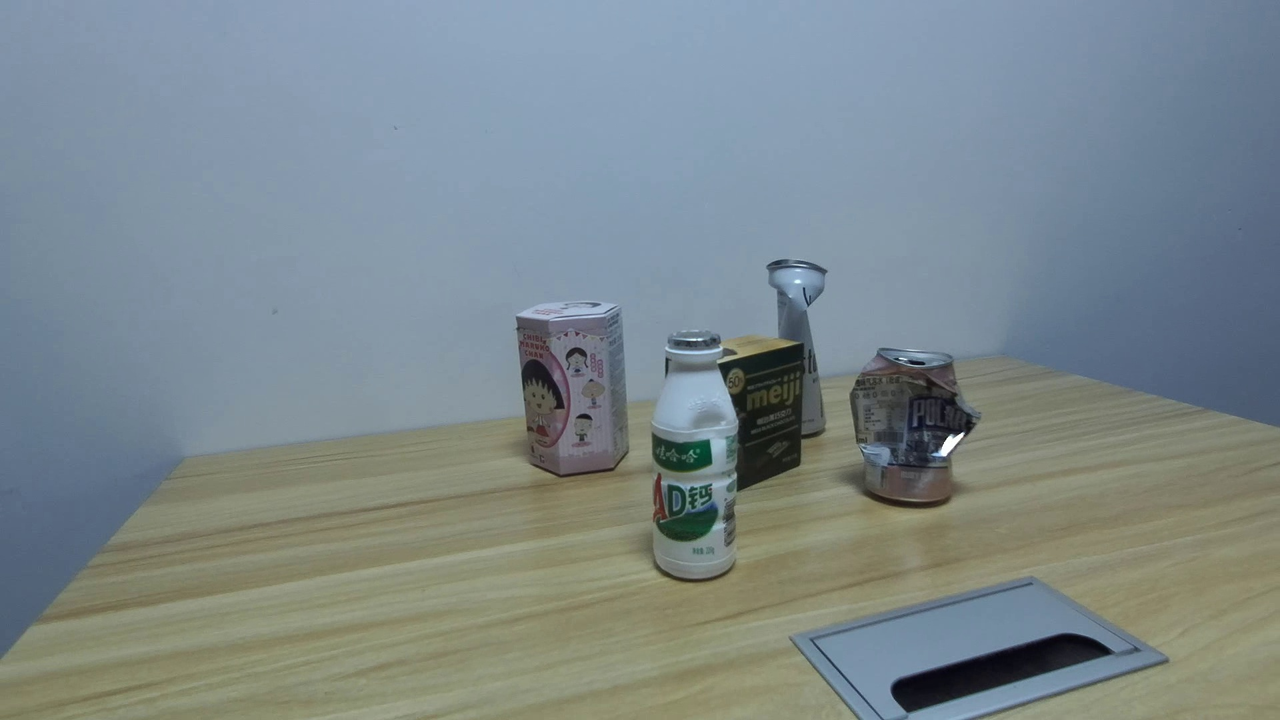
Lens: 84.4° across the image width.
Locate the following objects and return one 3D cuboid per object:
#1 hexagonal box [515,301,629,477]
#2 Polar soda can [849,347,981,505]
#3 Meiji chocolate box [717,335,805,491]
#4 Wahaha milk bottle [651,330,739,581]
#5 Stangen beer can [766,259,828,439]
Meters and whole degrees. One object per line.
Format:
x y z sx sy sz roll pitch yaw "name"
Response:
-0.057 0.022 0.613 0.084 0.136 0.091 -15 18 -43 "hexagonal box"
0.202 0.047 0.523 0.074 0.114 0.070 -13 23 -24 "Polar soda can"
0.078 0.042 0.570 0.110 0.109 0.056 -12 17 -37 "Meiji chocolate box"
0.034 0.062 0.429 0.053 0.136 0.053 -1 14 0 "Wahaha milk bottle"
0.146 -0.010 0.668 0.066 0.162 0.076 -10 16 -31 "Stangen beer can"
